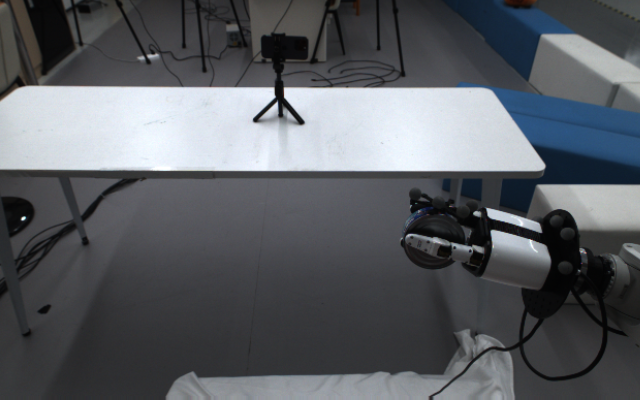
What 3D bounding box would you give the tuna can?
[{"bbox_3d":[0.162,0.050,0.689,0.085,0.085,0.034,5,18,4],"label":"tuna can"}]
